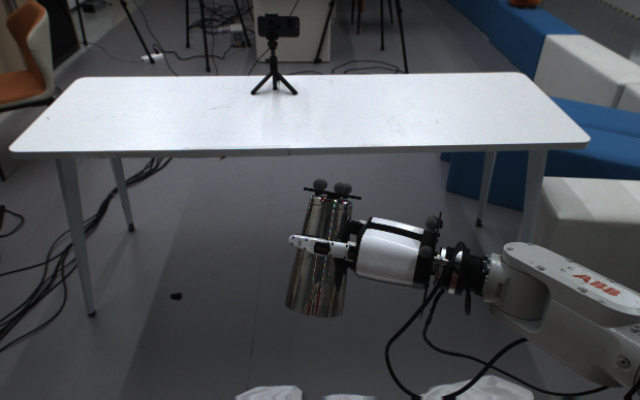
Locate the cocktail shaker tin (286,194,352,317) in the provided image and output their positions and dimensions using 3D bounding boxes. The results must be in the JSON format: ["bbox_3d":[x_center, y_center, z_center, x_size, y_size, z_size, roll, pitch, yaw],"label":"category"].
[{"bbox_3d":[0.005,0.082,0.740,0.093,0.170,0.093,9,3,0],"label":"cocktail shaker tin"}]
